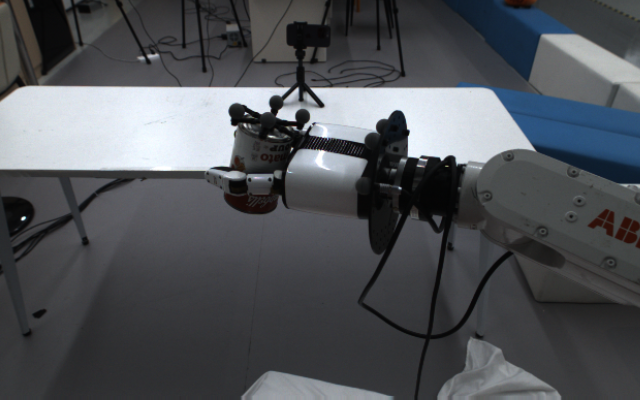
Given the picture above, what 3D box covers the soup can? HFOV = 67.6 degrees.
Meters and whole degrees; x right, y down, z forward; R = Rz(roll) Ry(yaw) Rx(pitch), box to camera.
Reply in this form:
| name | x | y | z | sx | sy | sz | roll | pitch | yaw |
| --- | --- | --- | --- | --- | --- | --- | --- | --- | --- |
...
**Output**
| name | x | y | z | sx | sy | sz | roll | pitch | yaw |
| --- | --- | --- | --- | --- | --- | --- | --- | --- | --- |
| soup can | -0.072 | -0.042 | 0.576 | 0.067 | 0.101 | 0.067 | 13 | 30 | -8 |
